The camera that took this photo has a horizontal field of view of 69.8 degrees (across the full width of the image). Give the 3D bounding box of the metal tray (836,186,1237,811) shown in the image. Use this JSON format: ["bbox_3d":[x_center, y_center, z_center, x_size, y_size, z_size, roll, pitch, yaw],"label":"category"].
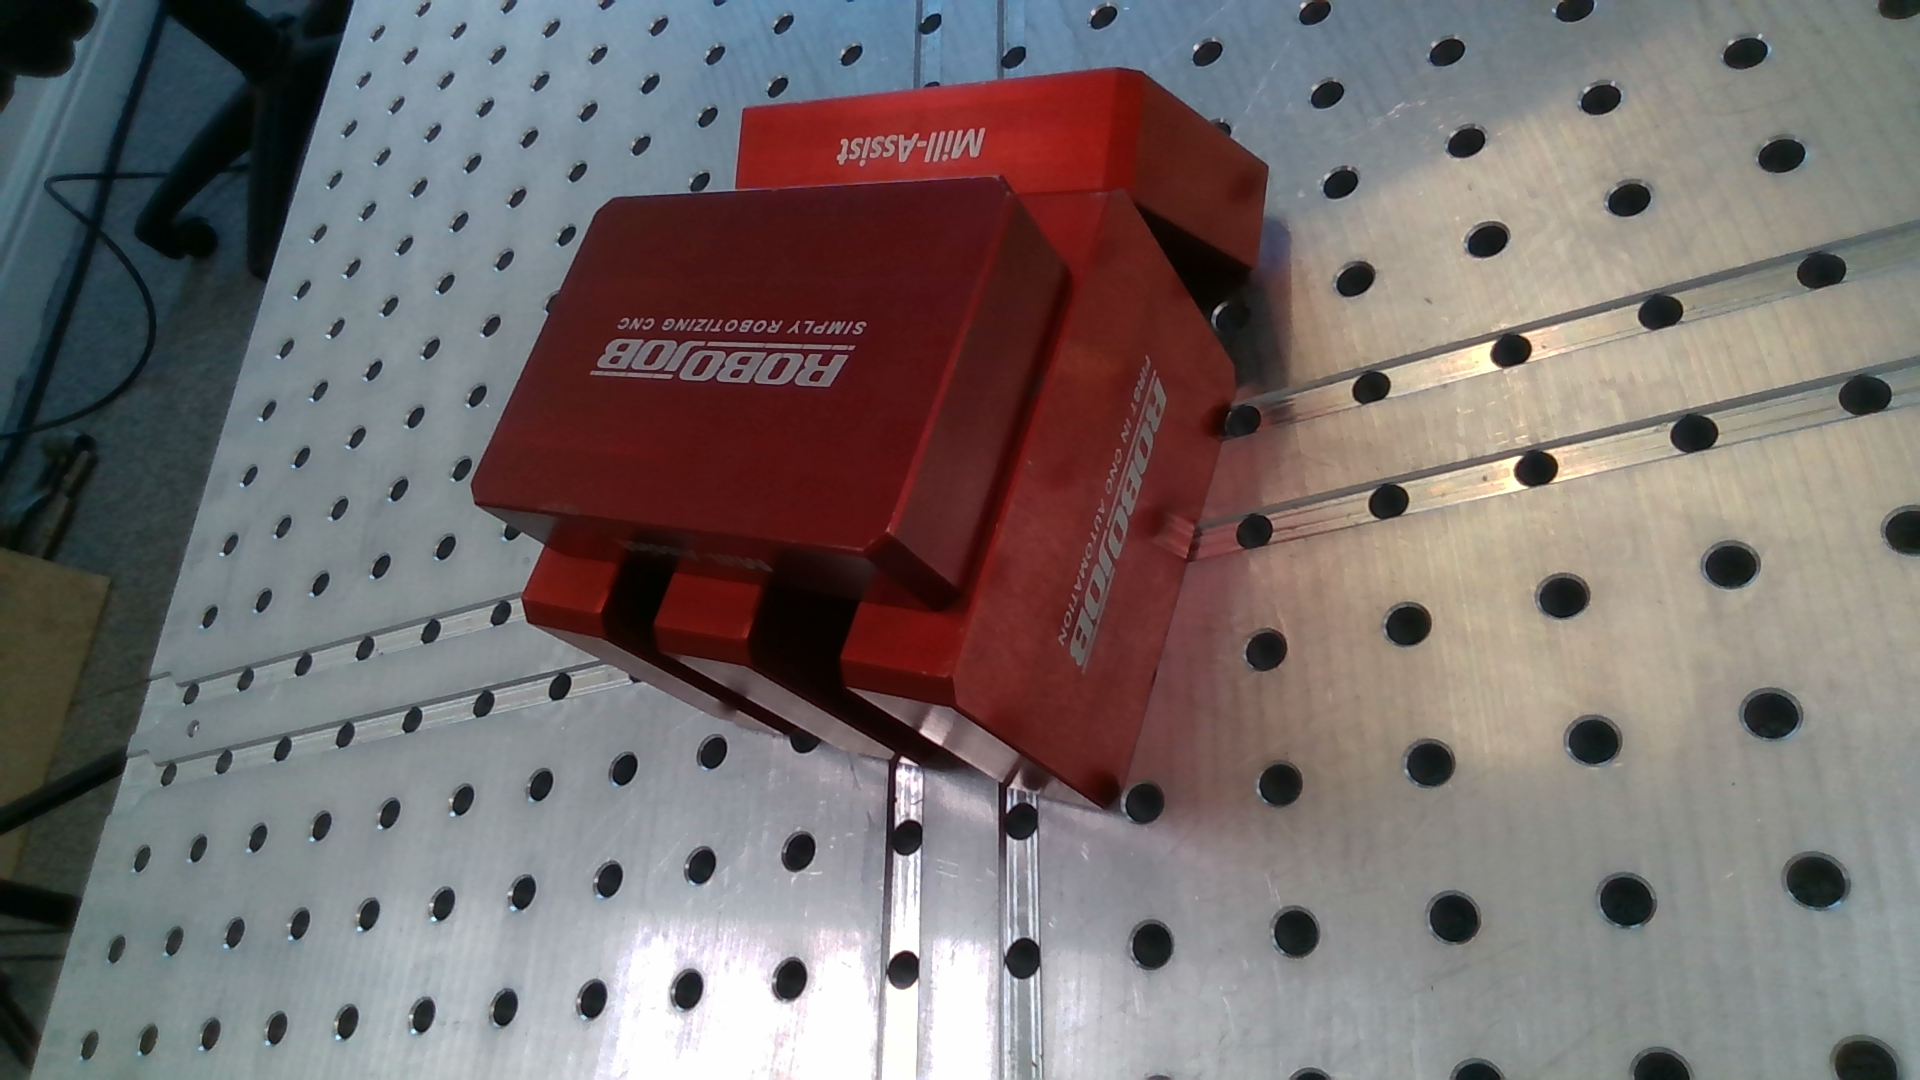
[{"bbox_3d":[0.025,-0.009,0.342,0.030,0.090,0.130,7,69,35],"label":"metal tray"}]

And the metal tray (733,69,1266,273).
[{"bbox_3d":[0.010,-0.101,0.397,0.130,0.090,0.030,7,91,34],"label":"metal tray"}]

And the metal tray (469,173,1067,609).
[{"bbox_3d":[-0.048,-0.038,0.325,0.130,0.030,0.090,7,69,34],"label":"metal tray"}]

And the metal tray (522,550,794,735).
[{"bbox_3d":[-0.062,-0.019,0.402,0.030,0.090,0.130,8,70,34],"label":"metal tray"}]

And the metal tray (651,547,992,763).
[{"bbox_3d":[-0.024,-0.015,0.375,0.030,0.090,0.130,7,70,33],"label":"metal tray"}]
